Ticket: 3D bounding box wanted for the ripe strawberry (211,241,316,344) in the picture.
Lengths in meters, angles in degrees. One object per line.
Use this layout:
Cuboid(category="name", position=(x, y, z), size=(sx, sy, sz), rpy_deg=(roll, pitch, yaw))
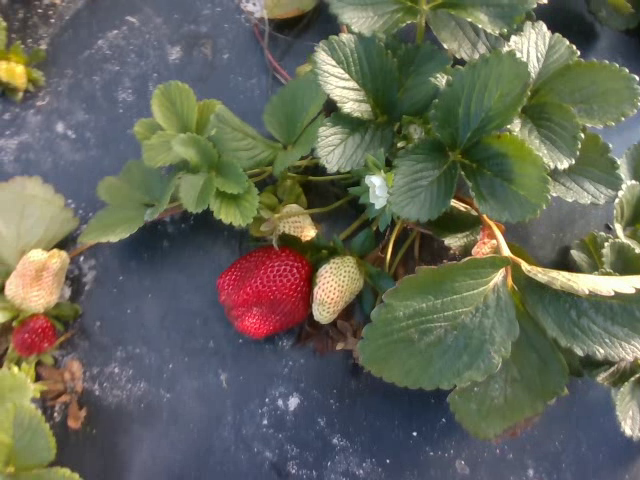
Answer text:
Cuboid(category="ripe strawberry", position=(-0.035, 0.034, 0.368), size=(0.071, 0.058, 0.057), rpy_deg=(-17, 24, -41))
